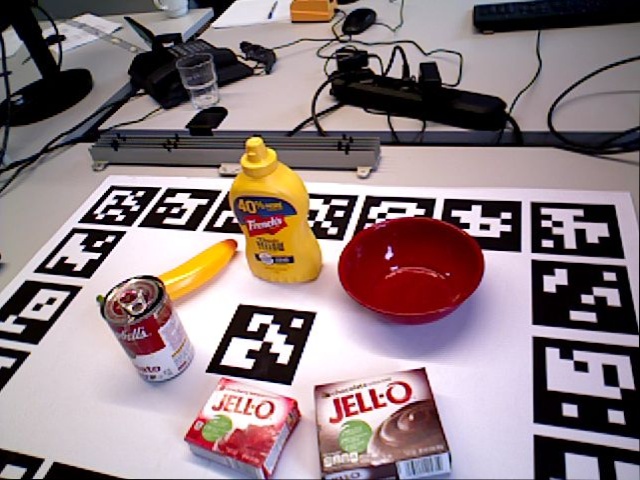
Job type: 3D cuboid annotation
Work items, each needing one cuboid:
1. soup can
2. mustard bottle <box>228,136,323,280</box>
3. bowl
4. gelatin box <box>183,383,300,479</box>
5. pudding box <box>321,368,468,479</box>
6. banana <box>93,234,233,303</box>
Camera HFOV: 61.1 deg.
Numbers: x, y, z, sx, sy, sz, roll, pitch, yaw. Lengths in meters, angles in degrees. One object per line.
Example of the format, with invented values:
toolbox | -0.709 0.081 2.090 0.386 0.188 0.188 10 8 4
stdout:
soup can | -0.187 0.087 0.582 0.068 0.104 0.067 -5 39 3
mustard bottle | -0.055 -0.042 0.626 0.096 0.195 0.057 4 39 17
bowl | 0.115 0.041 0.616 0.161 0.056 0.159 -9 39 6
gelatin box | -0.074 0.181 0.515 0.090 0.031 0.071 8 47 23
pudding box | 0.063 0.166 0.490 0.113 0.039 0.089 -13 45 -1
banana | -0.193 0.044 0.699 0.194 0.039 0.074 -28 32 -18
